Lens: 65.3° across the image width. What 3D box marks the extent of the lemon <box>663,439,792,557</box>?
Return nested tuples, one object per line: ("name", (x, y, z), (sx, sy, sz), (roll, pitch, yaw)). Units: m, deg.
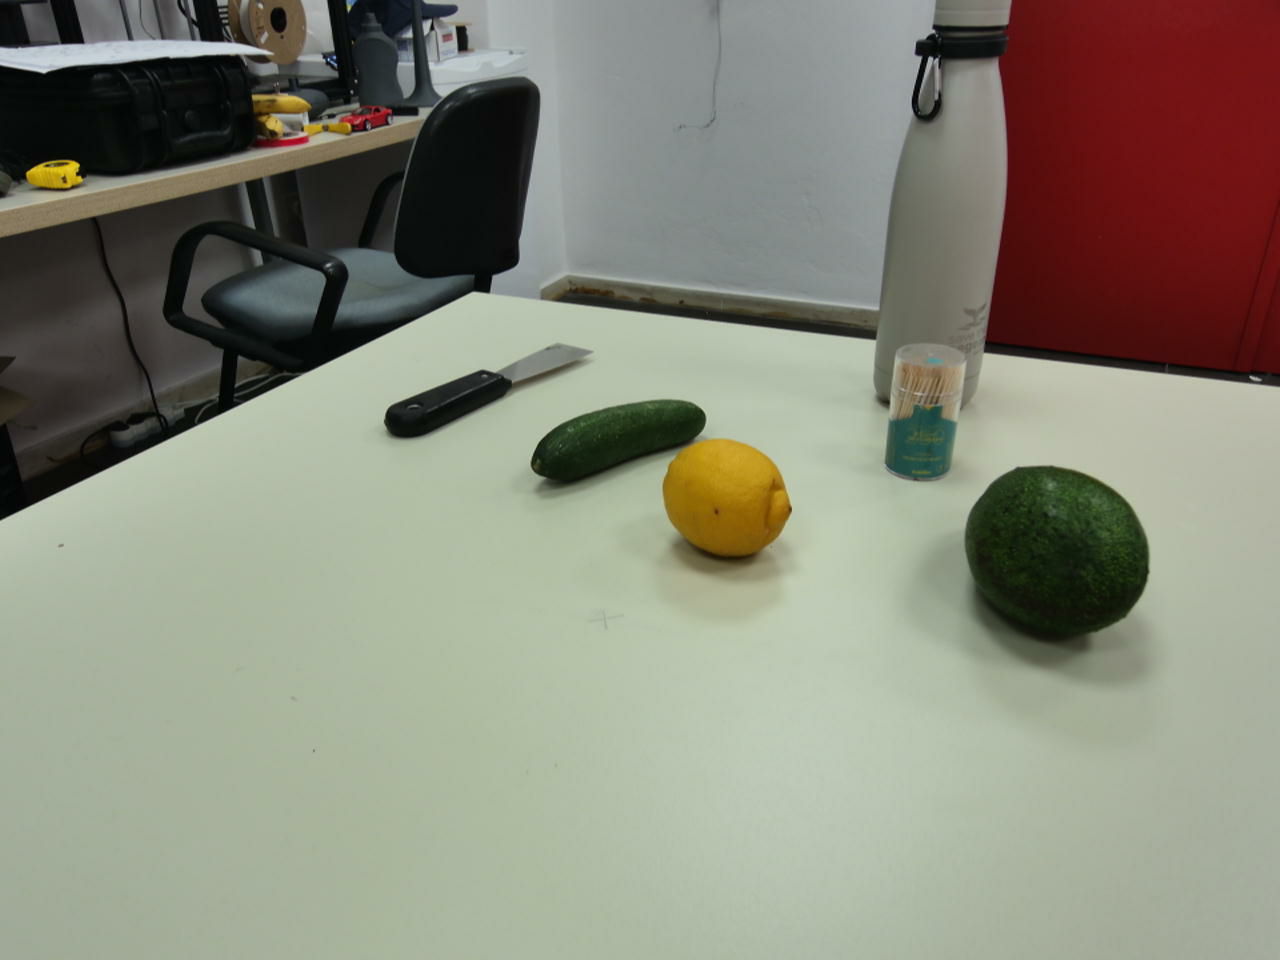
("lemon", (0.044, 0.010, 0.522), (0.061, 0.059, 0.067), (-10, 27, -21))
